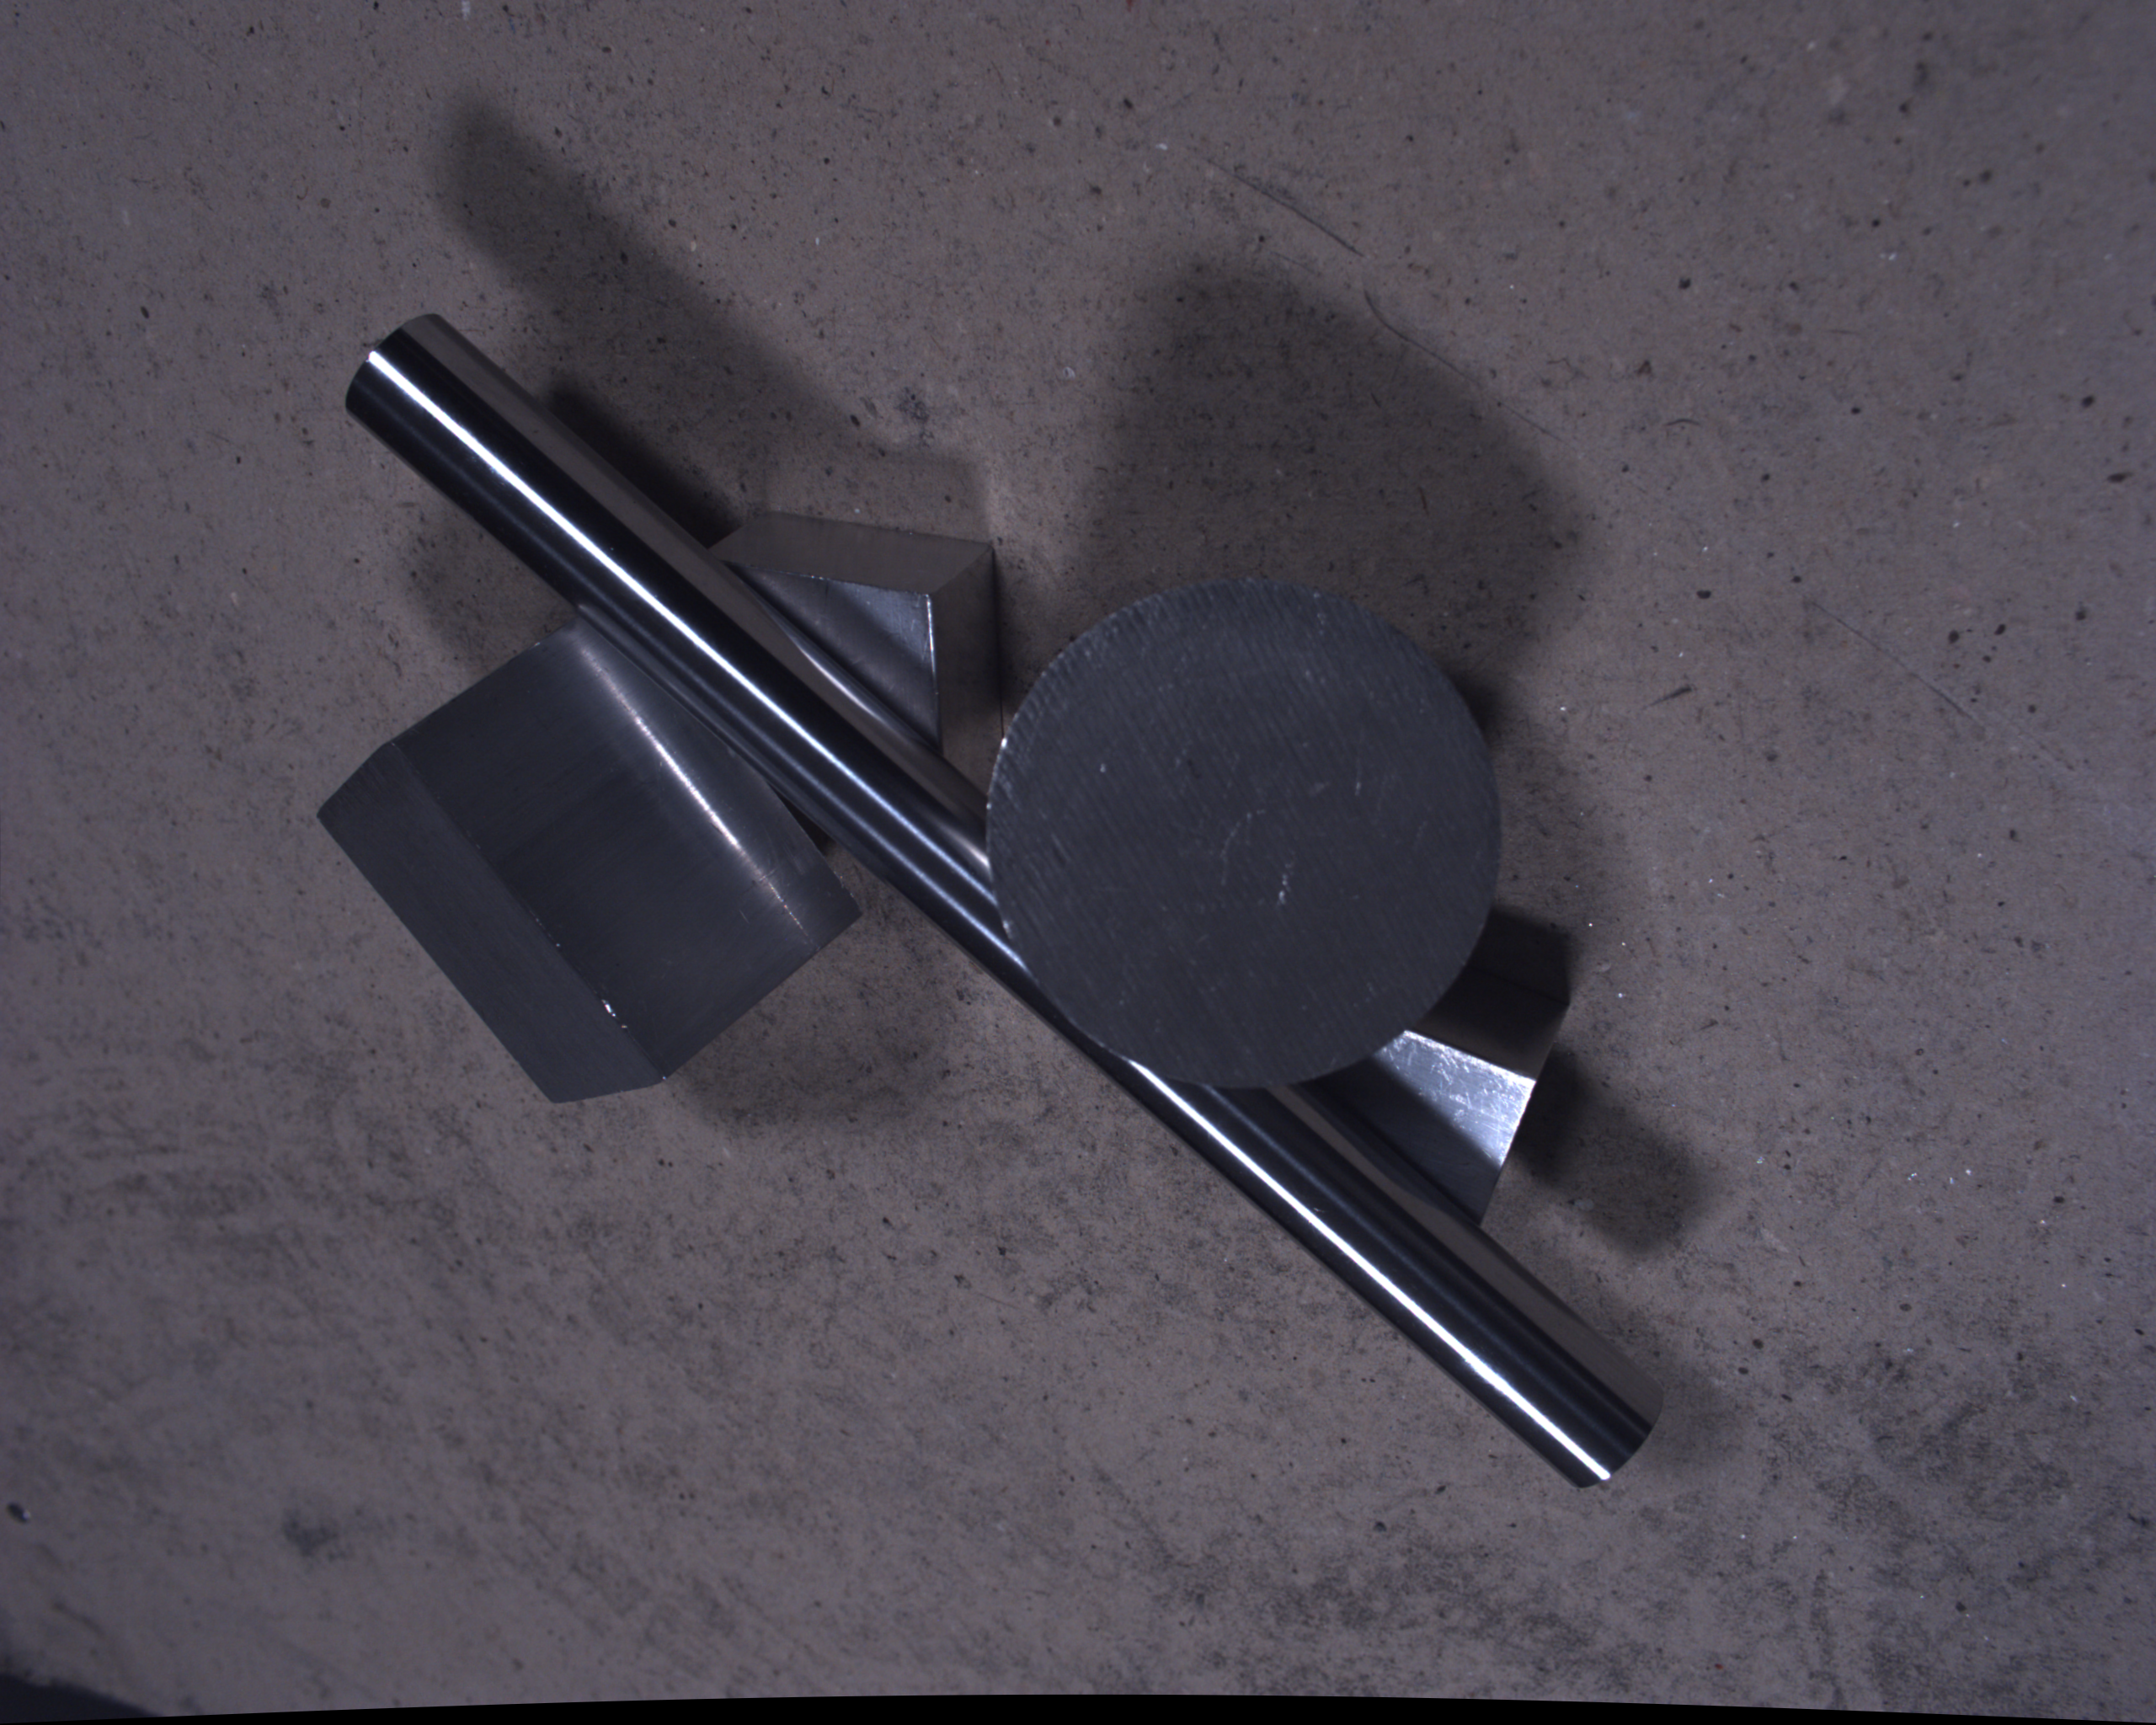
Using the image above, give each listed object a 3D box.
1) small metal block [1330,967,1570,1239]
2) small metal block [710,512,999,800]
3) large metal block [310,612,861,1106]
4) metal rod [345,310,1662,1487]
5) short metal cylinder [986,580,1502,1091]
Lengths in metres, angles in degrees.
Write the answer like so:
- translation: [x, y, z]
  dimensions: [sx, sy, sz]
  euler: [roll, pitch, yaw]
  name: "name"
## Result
- translation: [0.061, 0.043, 0.403]
  dimensions: [0.050, 0.025, 0.050]
  euler: [22, 127, 14]
  name: "small metal block"
- translation: [-0.044, -0.038, 0.407]
  dimensions: [0.050, 0.025, 0.050]
  euler: [12, 123, 21]
  name: "small metal block"
- translation: [-0.102, 0.001, 0.423]
  dimensions: [0.080, 0.050, 0.080]
  euler: [53, 151, -11]
  name: "large metal block"
- translation: [-0.013, 0.007, 0.386]
  dimensions: [0.300, 0.025, 0.025]
  euler: [41, 129, -1]
  name: "metal rod"
- translation: [0.025, -0.004, 0.349]
  dimensions: [0.081, 0.050, 0.079]
  euler: [0, 89, -2]
  name: "short metal cylinder"
